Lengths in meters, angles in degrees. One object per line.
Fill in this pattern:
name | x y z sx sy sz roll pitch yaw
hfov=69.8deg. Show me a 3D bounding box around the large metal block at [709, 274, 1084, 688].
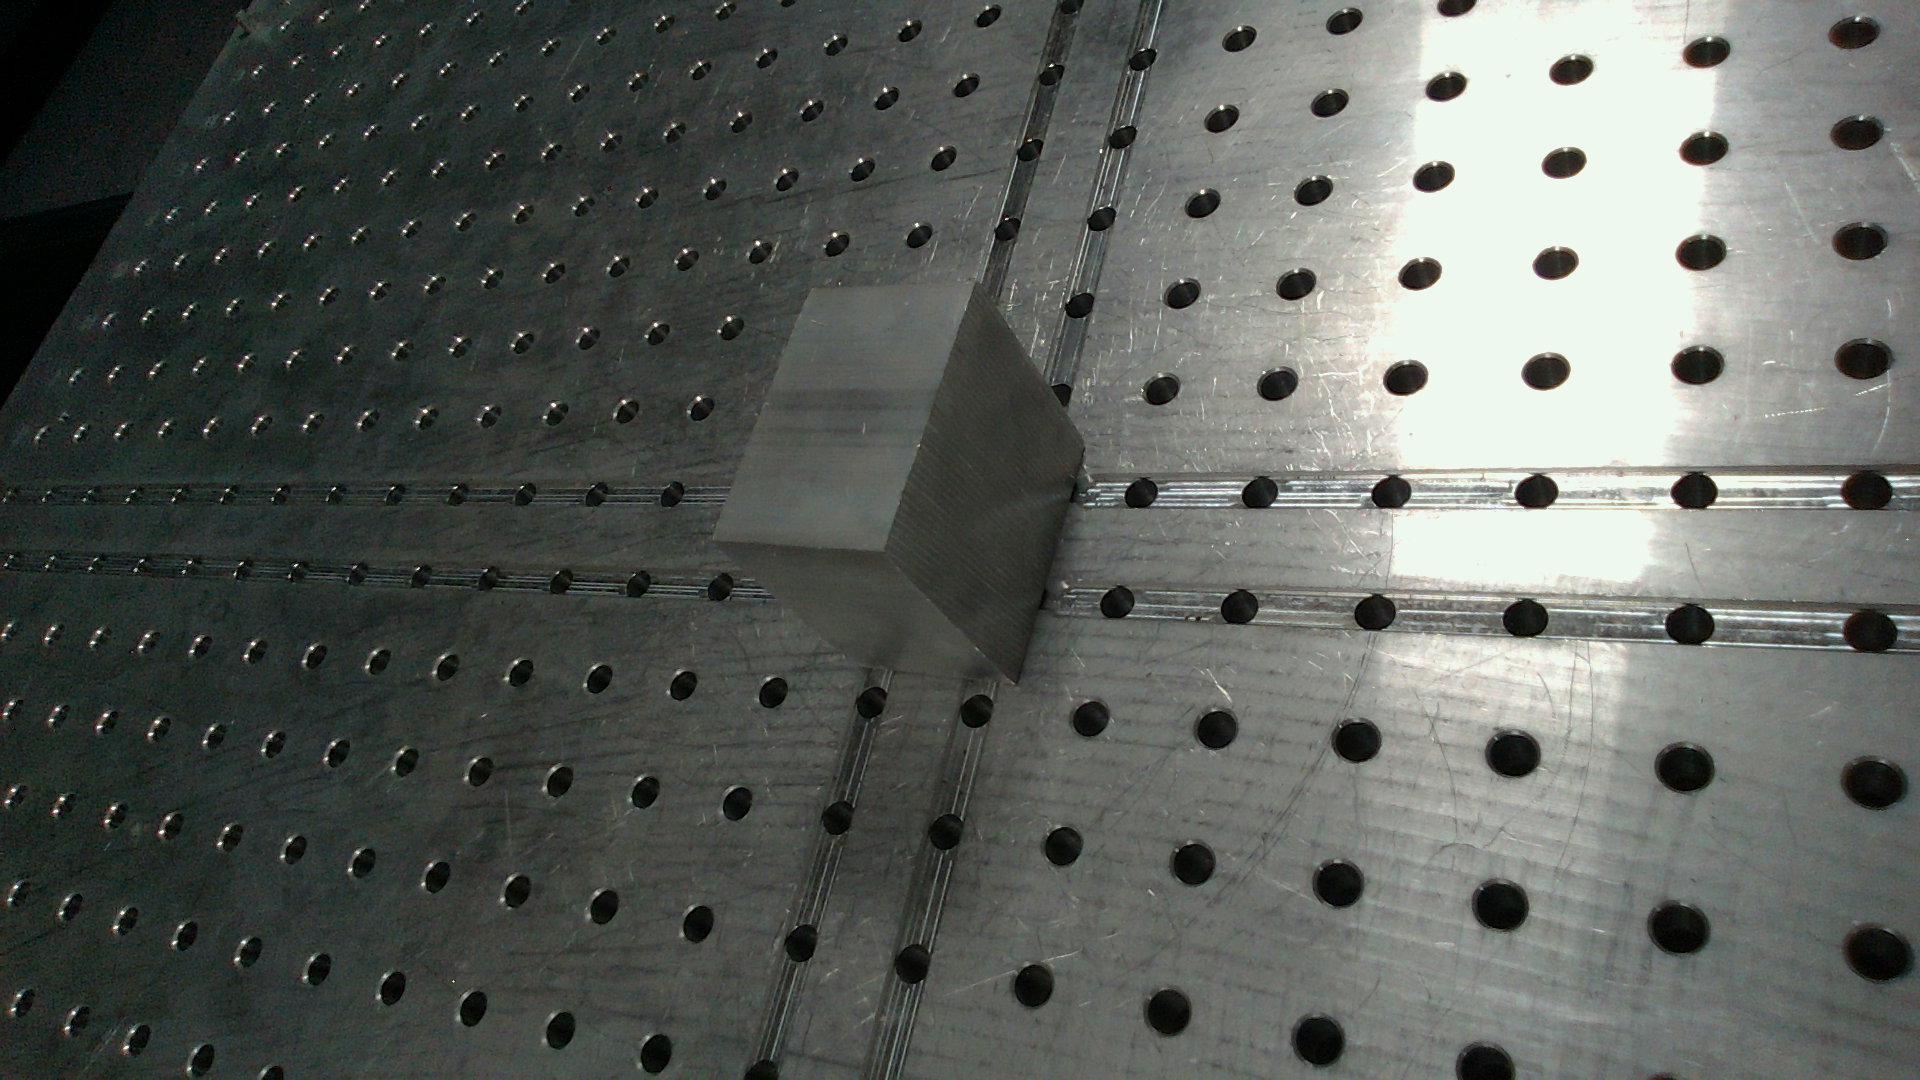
large metal block | -0.013 -0.014 0.376 0.050 0.080 0.080 3 63 30
